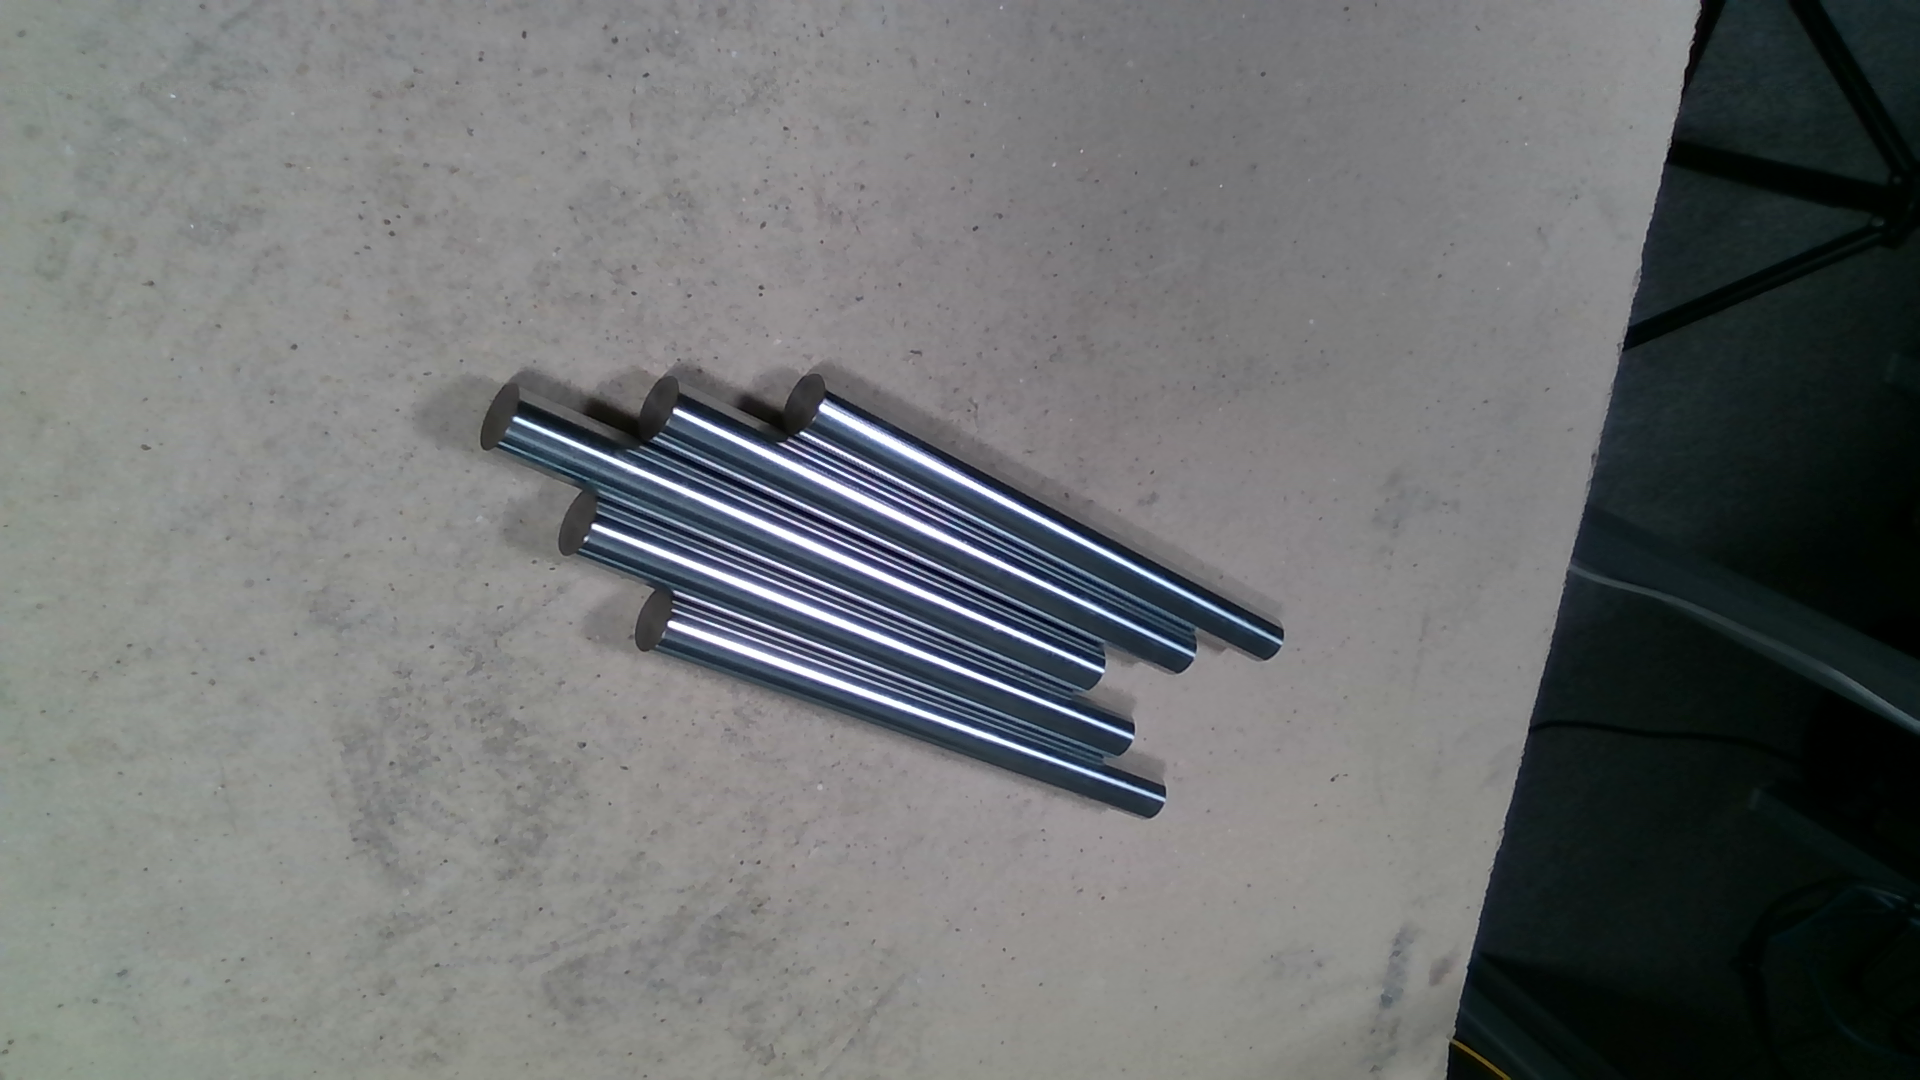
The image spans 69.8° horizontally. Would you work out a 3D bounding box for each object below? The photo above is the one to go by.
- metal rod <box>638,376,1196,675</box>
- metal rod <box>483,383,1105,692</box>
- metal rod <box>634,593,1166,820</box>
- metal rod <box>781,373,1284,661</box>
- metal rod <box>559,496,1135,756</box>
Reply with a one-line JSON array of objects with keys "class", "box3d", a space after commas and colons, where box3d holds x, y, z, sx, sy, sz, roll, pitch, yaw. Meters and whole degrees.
[{"class": "metal rod", "box3d": [-0.001, 0.004, 0.582, 0.301, 0.025, 0.025, 25, 100, -38]}, {"class": "metal rod", "box3d": [-0.048, 0.009, 0.557, 0.301, 0.025, 0.025, 25, 100, -38]}, {"class": "metal rod", "box3d": [-0.010, 0.081, 0.618, 0.301, 0.025, 0.025, 25, 100, -38]}, {"class": "metal rod", "box3d": [0.047, -0.001, 0.610, 0.301, 0.025, 0.025, 25, 100, -38]}, {"class": "metal rod", "box3d": [-0.030, 0.045, 0.586, 0.301, 0.025, 0.025, 25, 100, -38]}]
